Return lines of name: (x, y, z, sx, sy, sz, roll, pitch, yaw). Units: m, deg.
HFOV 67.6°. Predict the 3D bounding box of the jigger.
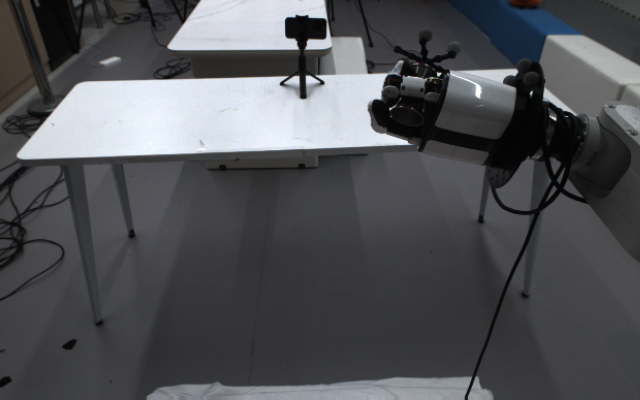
jigger: (0.122, -0.135, 0.614, 0.043, 0.043, 0.071, 14, 71, 17)
